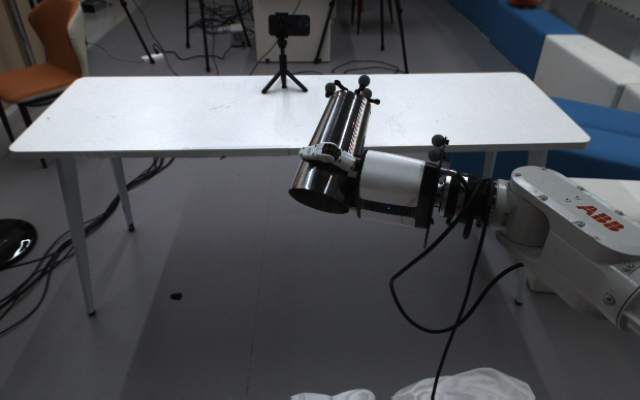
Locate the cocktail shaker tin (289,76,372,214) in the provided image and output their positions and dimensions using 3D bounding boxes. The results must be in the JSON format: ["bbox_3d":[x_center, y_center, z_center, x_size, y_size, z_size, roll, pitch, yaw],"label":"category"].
[{"bbox_3d":[0.021,-0.075,0.725,0.093,0.093,0.170,14,72,16],"label":"cocktail shaker tin"}]
